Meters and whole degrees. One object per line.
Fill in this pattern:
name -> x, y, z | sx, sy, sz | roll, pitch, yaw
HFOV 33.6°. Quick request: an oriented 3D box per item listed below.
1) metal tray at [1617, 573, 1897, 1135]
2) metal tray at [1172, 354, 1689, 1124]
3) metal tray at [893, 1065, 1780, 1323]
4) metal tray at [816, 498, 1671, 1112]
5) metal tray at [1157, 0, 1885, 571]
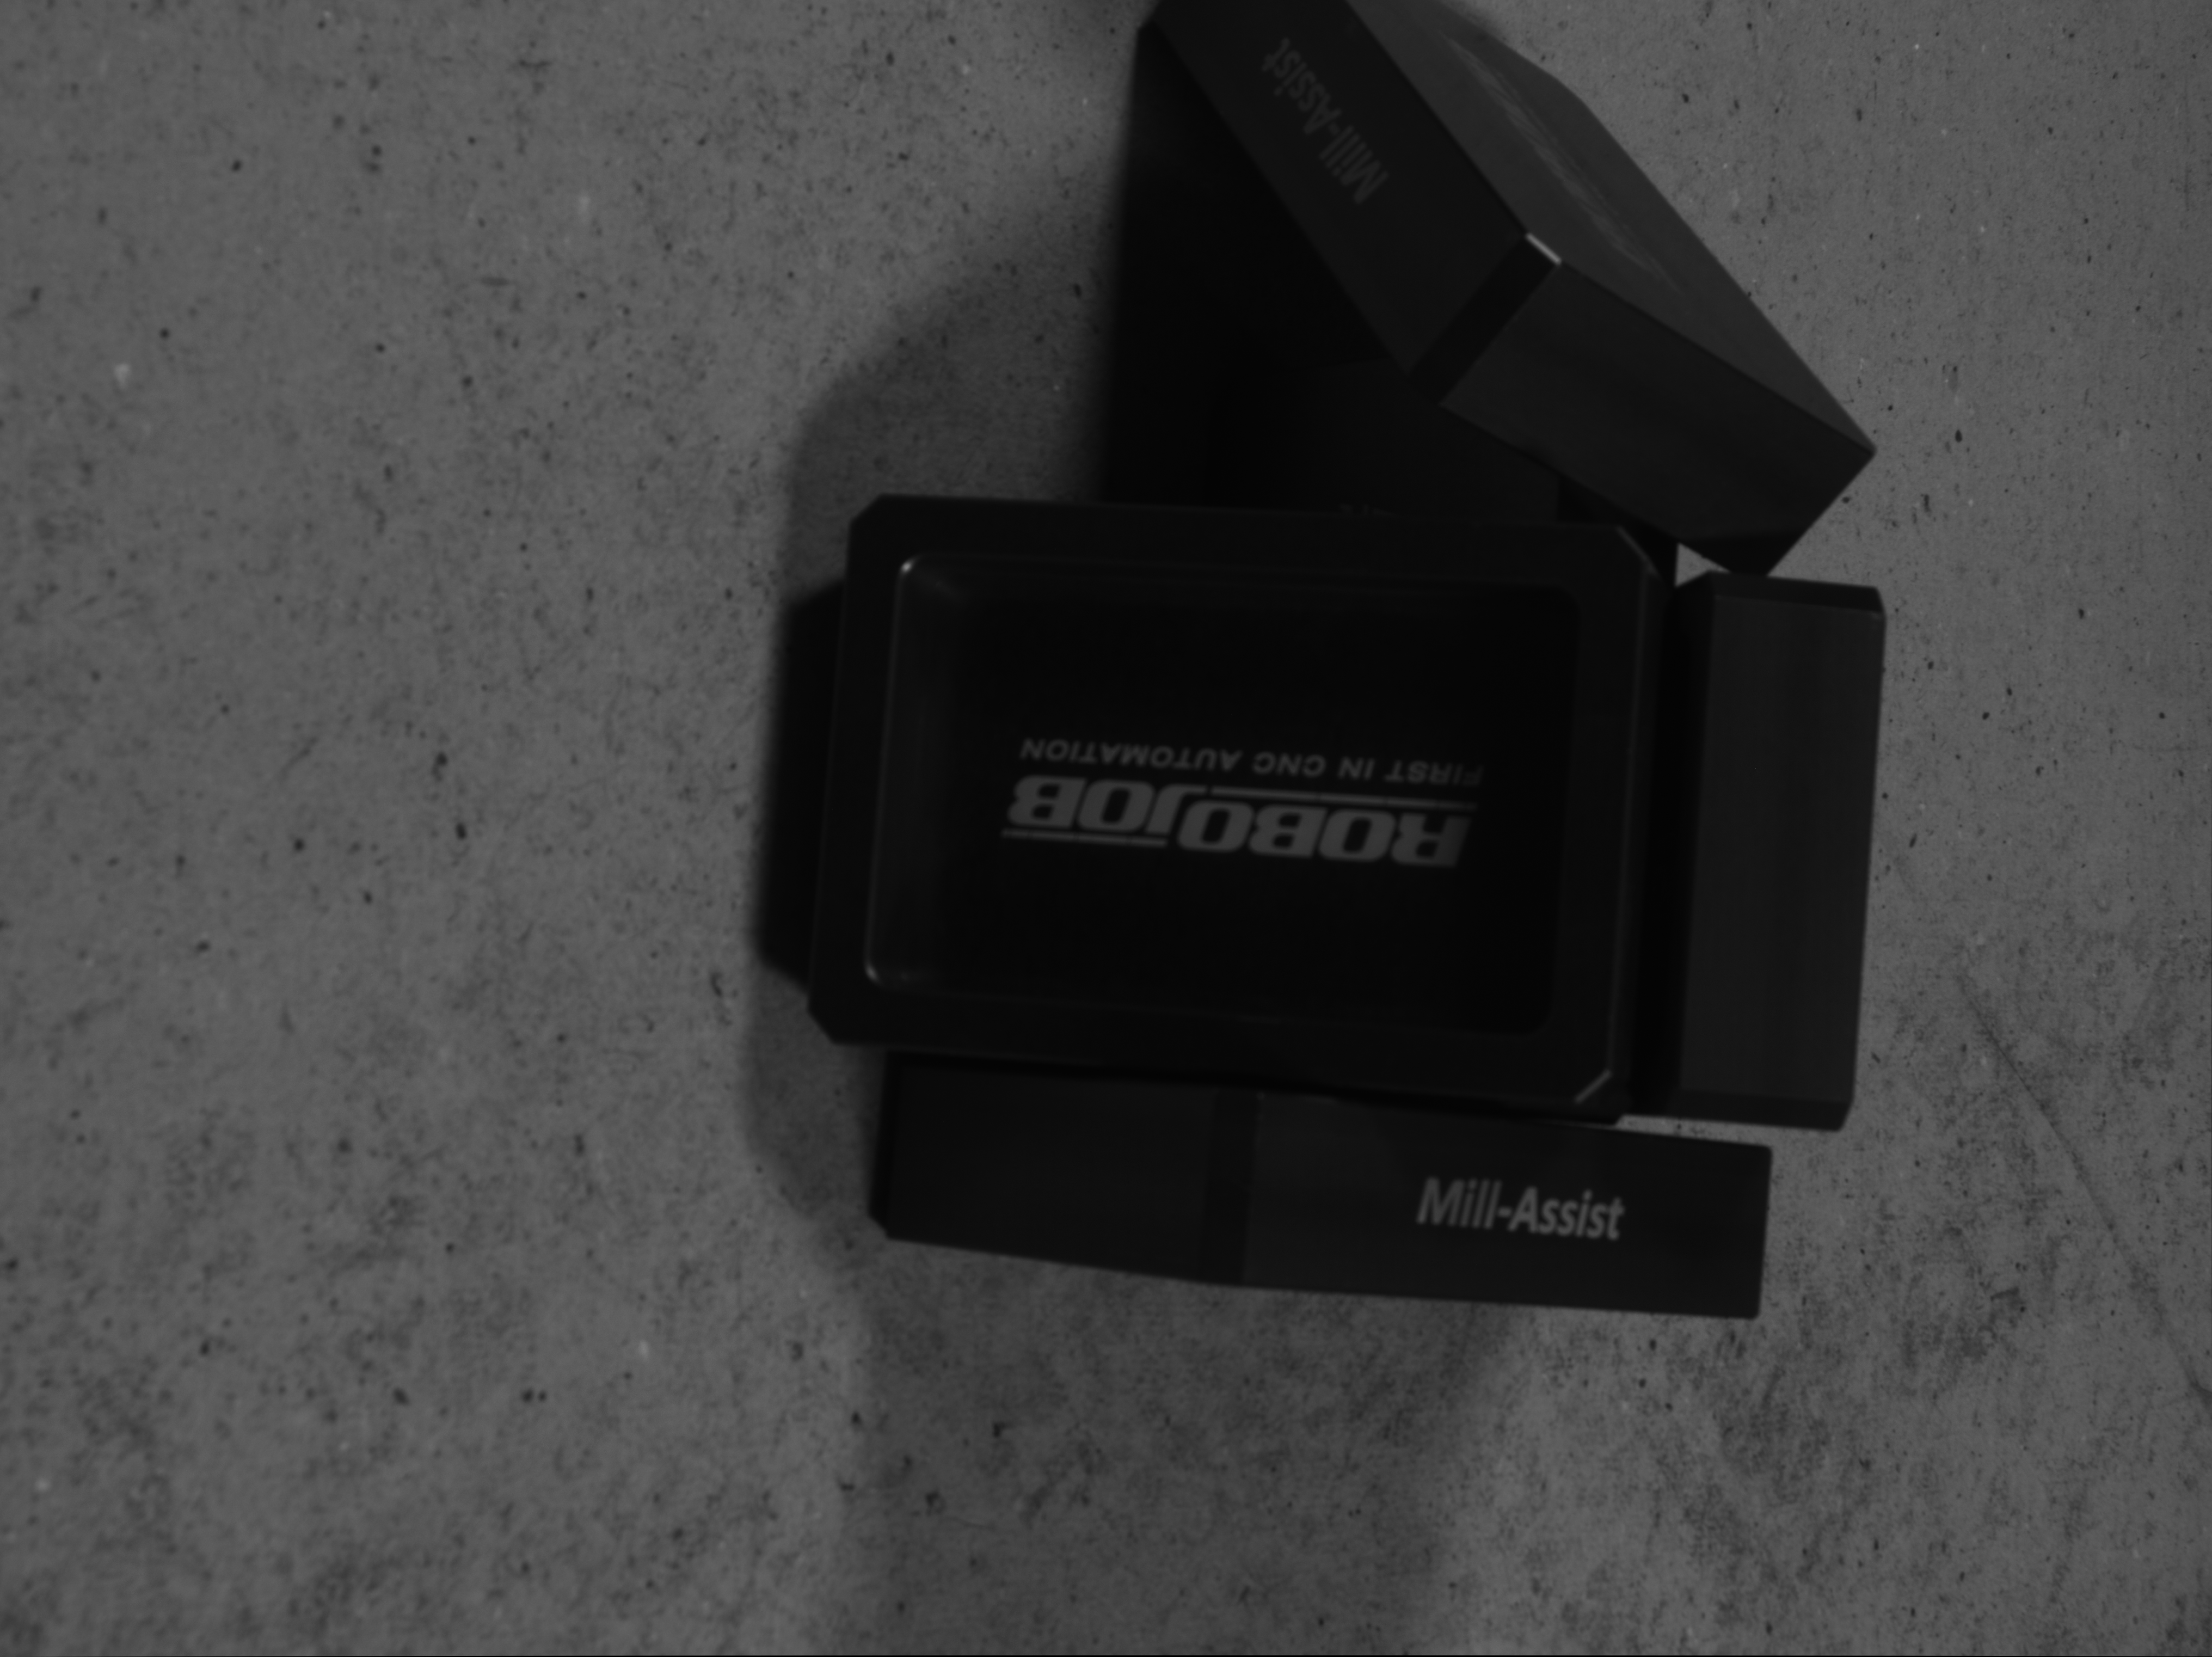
metal tray -> 0.104, 0.007, 0.659 | 0.030, 0.130, 0.090 | 5, 86, -6
metal tray -> 0.056, -0.017, 0.641 | 0.030, 0.090, 0.130 | 9, 84, -39
metal tray -> 0.041, 0.063, 0.629 | 0.130, 0.090, 0.030 | 9, 84, -39
metal tray -> 0.023, -0.004, 0.593 | 0.030, 0.130, 0.090 | 21, 74, -75
metal tray -> 0.070, -0.105, 0.636 | 0.090, 0.130, 0.030 | 22, 117, -38
